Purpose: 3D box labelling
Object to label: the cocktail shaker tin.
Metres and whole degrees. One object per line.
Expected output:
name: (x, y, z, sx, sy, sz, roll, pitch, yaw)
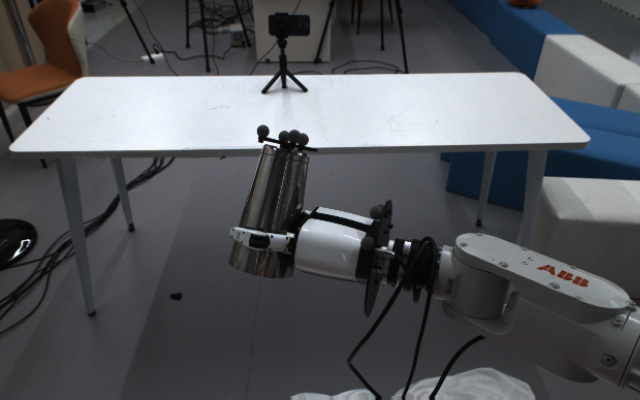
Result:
cocktail shaker tin: (-0.065, 0.013, 0.675, 0.093, 0.170, 0.093, 12, 5, -1)
